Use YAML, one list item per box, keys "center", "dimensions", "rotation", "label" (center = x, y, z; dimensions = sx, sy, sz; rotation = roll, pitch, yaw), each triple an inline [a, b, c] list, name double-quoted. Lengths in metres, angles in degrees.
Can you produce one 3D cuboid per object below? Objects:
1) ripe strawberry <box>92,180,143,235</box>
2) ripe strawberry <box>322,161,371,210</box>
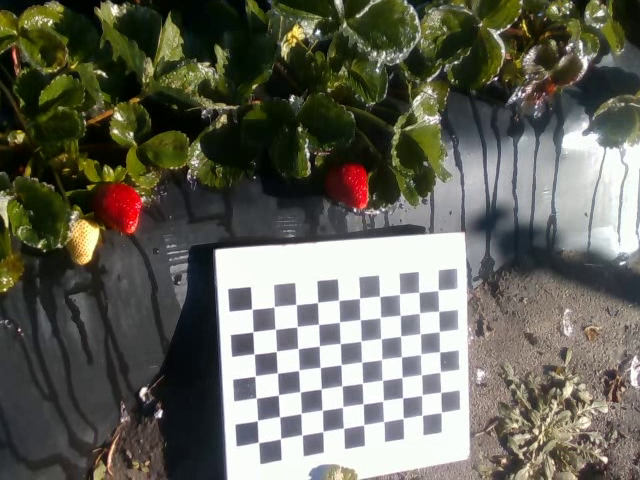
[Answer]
- center: [-0.184, -0.023, 0.551]
  dimensions: [0.043, 0.061, 0.046]
  rotation: [-20, -32, -15]
  label: "ripe strawberry"
- center: [0.034, -0.055, 0.612]
  dimensions: [0.049, 0.061, 0.044]
  rotation: [-12, -25, -17]
  label: "ripe strawberry"
